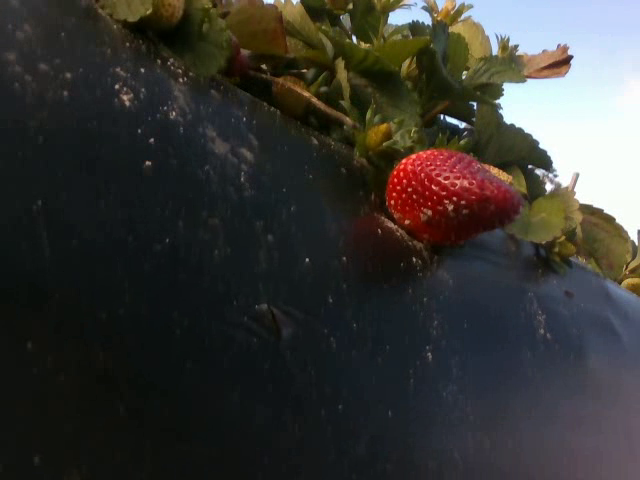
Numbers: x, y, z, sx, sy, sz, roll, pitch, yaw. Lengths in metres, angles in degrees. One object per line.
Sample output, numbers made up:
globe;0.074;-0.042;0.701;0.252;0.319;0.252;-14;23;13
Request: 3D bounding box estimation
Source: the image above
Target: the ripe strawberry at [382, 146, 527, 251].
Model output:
ripe strawberry;0.063;-0.022;0.260;0.052;0.045;0.067;26;-2;-29
